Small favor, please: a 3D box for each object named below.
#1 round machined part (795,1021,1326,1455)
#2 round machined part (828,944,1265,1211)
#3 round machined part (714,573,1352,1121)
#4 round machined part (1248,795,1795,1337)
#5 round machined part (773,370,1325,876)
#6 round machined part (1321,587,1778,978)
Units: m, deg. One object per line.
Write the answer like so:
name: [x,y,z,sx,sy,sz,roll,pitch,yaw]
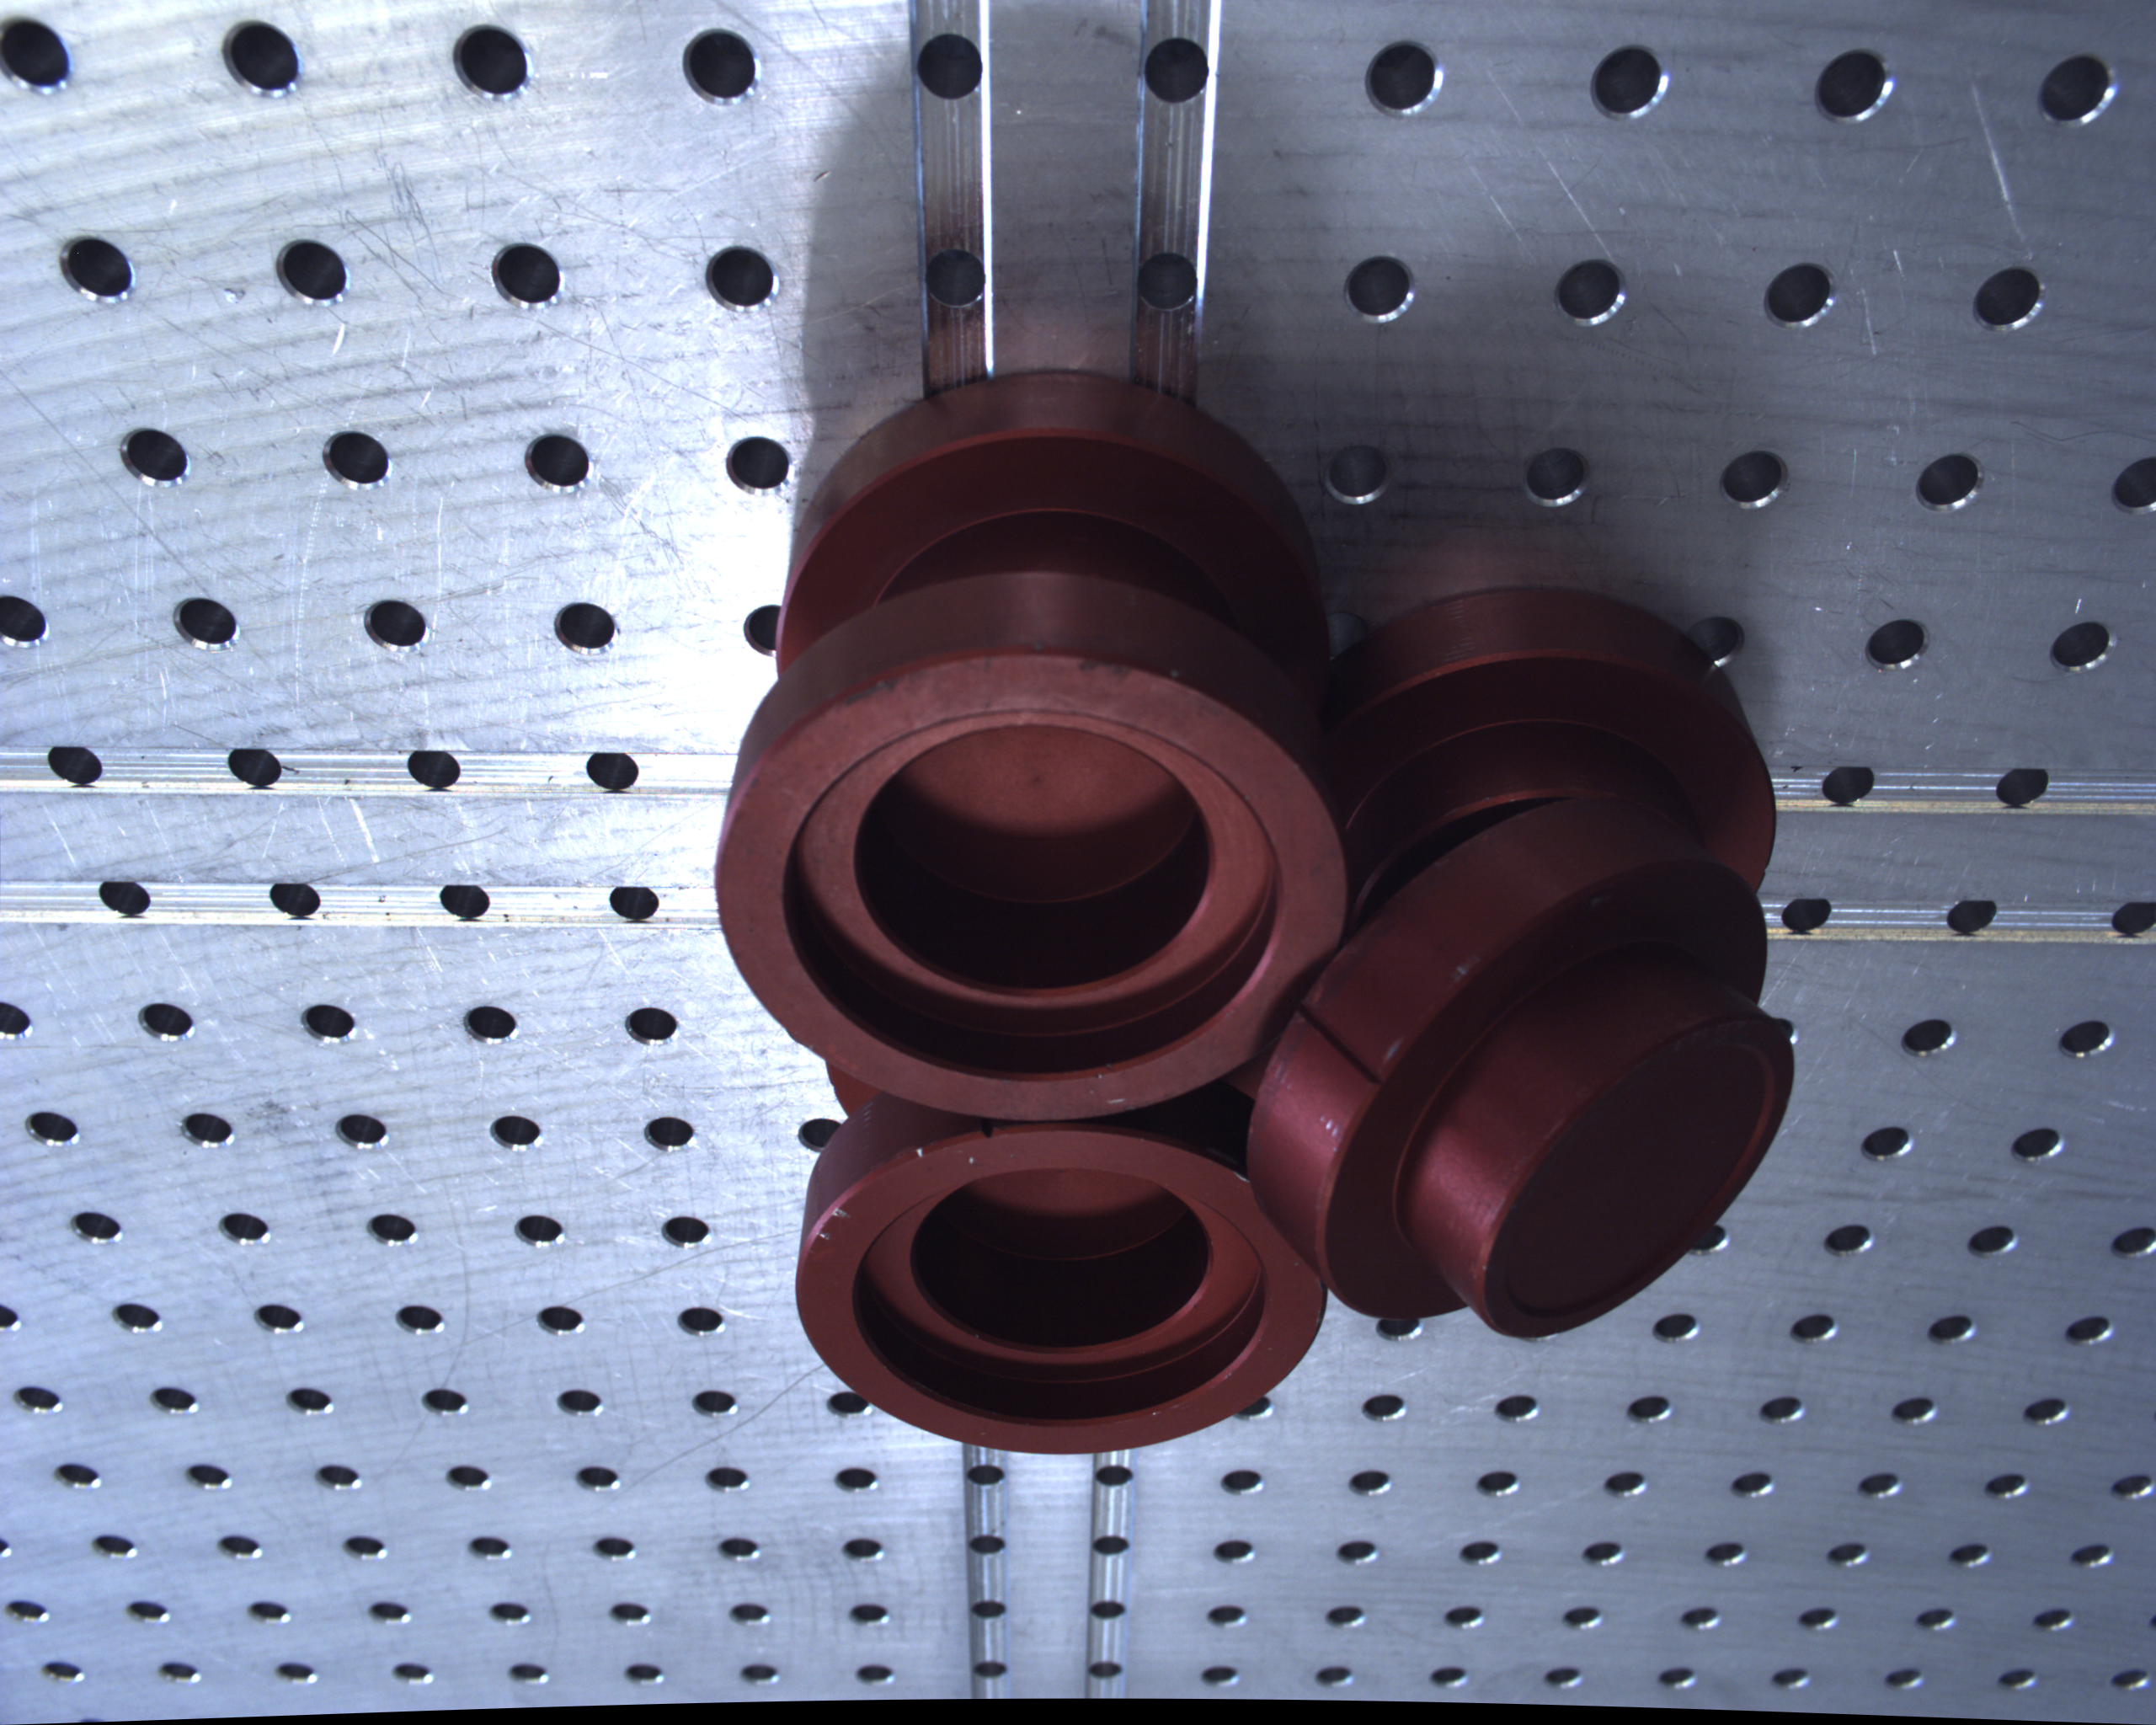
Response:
round machined part: [-0.003,0.069,0.403,0.099,0.042,0.097,0,130,0]
round machined part: [-0.004,0.041,0.436,0.099,0.042,0.097,0,130,0]
round machined part: [-0.007,-0.006,0.339,0.099,0.042,0.097,0,130,0]
round machined part: [0.081,0.041,0.352,0.099,0.042,0.097,-22,134,-24]
round machined part: [-0.005,-0.034,0.372,0.099,0.042,0.097,0,130,0]
round machined part: [0.084,-0.001,0.401,0.099,0.042,0.097,0,130,0]
